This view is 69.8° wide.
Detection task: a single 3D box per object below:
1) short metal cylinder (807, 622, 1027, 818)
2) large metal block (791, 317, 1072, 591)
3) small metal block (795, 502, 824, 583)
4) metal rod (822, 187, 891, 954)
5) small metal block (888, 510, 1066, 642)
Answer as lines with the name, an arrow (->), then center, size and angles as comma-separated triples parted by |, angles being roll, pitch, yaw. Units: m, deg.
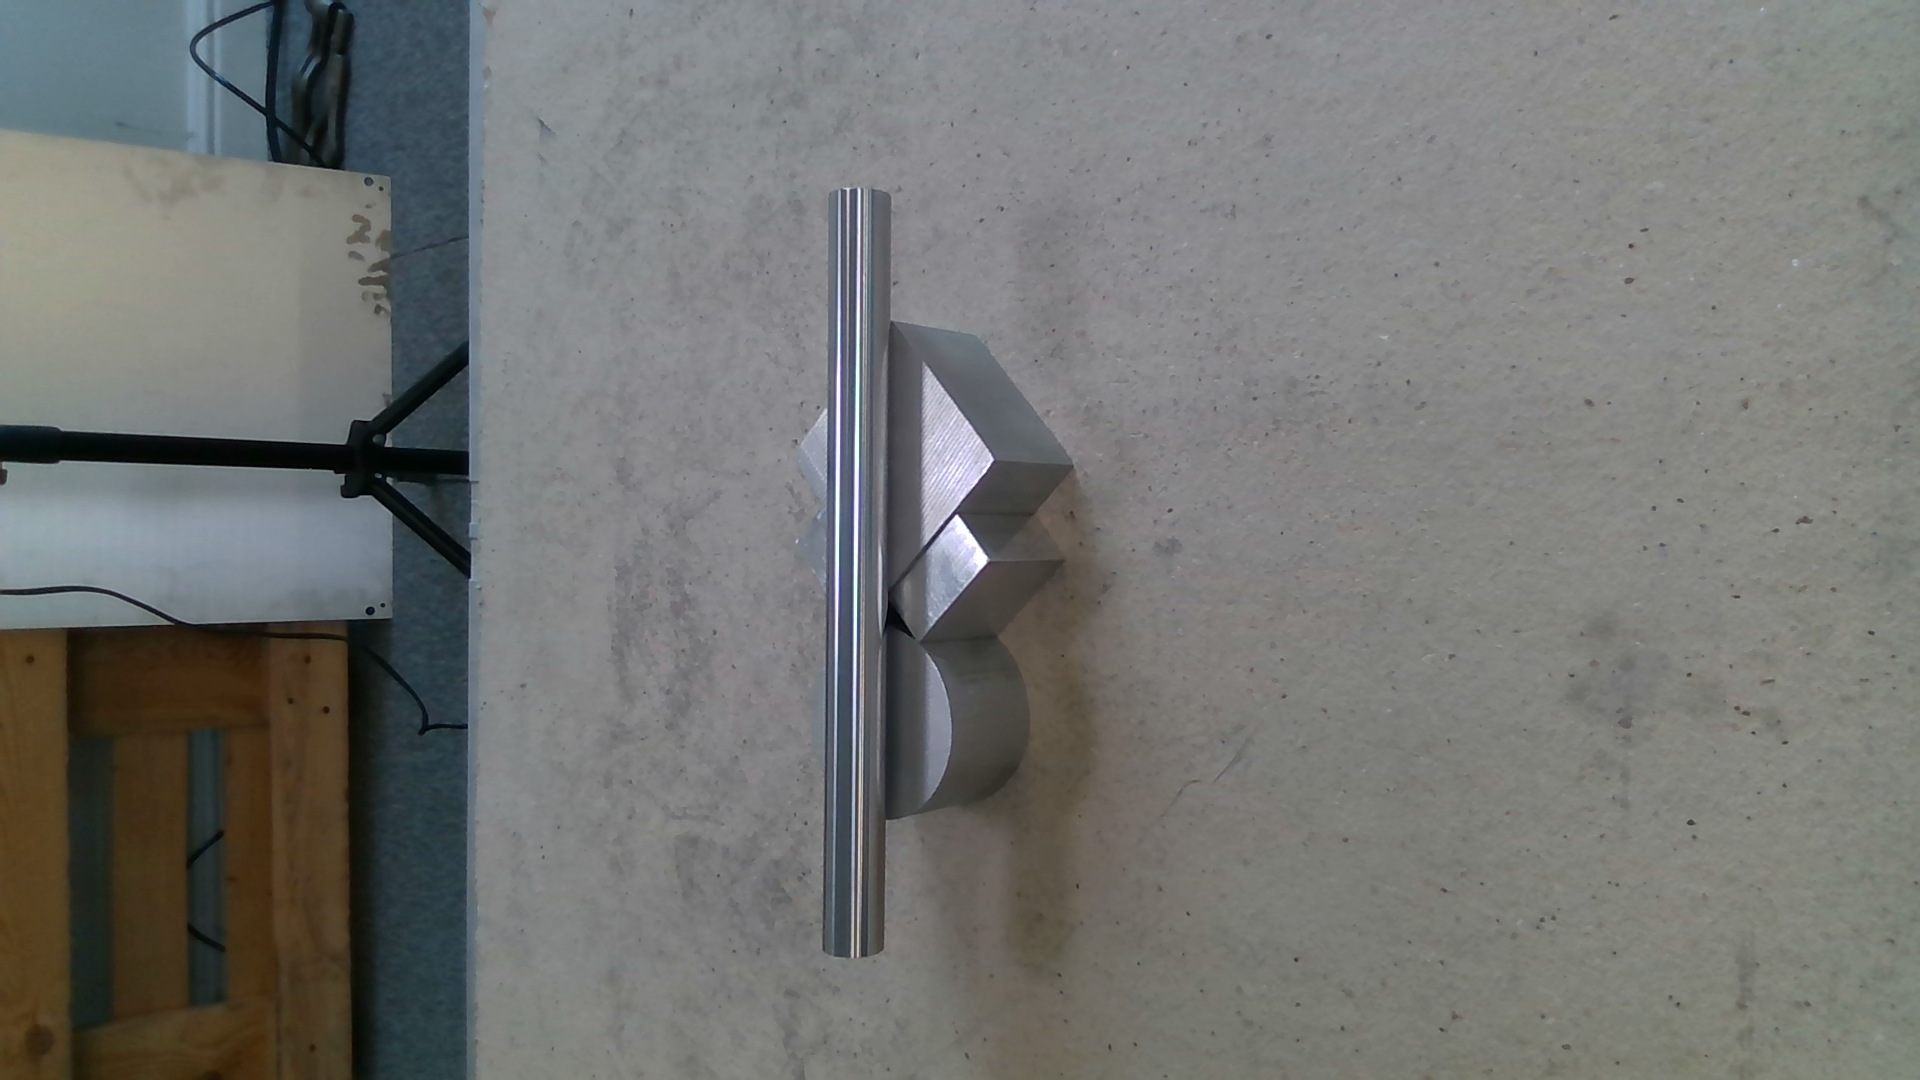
short metal cylinder -> -0.019, 0.073, 0.582 | 0.080, 0.050, 0.080 | 0, 91, 40
large metal block -> -0.014, -0.034, 0.576 | 0.080, 0.050, 0.080 | -50, 61, 29
small metal block -> -0.035, 0.010, 0.597 | 0.025, 0.050, 0.050 | -50, 60, 29
metal rod -> -0.042, 0.013, 0.550 | 0.025, 0.025, 0.300 | 2, 92, 40
small metal block -> 0.007, 0.014, 0.561 | 0.050, 0.050, 0.025 | -50, 60, 29
